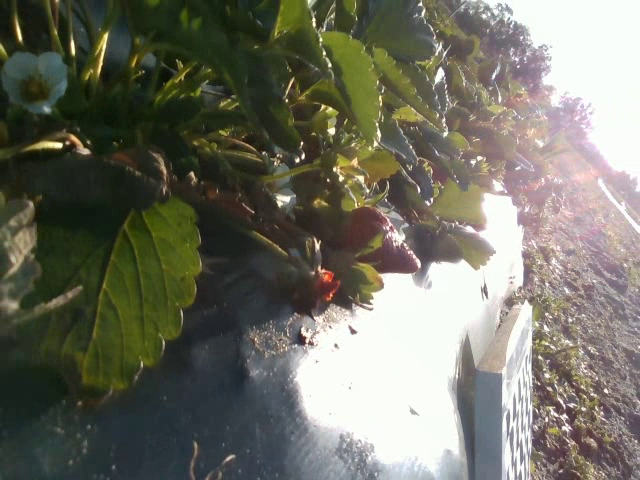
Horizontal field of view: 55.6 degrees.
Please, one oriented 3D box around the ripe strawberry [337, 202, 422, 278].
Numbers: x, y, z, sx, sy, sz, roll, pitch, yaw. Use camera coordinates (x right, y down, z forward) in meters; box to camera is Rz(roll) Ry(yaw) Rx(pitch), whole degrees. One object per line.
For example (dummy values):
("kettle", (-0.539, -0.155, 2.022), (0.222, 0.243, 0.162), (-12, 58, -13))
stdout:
("ripe strawberry", (0.039, 0.005, 0.352), (0.051, 0.041, 0.052), (26, 41, 3))
